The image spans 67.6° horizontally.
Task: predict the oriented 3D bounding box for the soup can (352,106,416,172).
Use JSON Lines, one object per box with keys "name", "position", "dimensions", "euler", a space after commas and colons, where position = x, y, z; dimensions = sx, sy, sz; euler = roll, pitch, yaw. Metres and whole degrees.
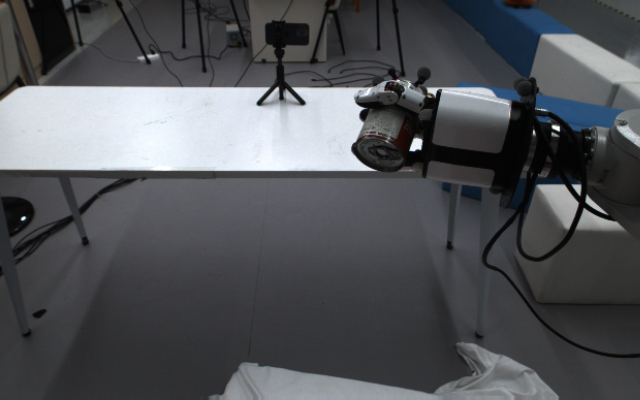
{"name": "soup can", "position": [0.091, -0.099, 0.623], "dimensions": [0.067, 0.067, 0.101], "euler": [15, 63, 18]}
